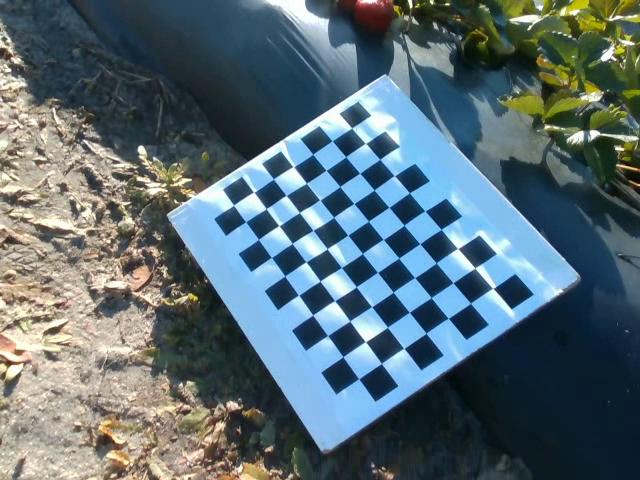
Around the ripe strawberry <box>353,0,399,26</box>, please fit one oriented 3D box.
[{"bbox_3d":[0.070,-0.273,0.864,0.056,0.052,0.067,2,11,9],"label":"ripe strawberry"}]
